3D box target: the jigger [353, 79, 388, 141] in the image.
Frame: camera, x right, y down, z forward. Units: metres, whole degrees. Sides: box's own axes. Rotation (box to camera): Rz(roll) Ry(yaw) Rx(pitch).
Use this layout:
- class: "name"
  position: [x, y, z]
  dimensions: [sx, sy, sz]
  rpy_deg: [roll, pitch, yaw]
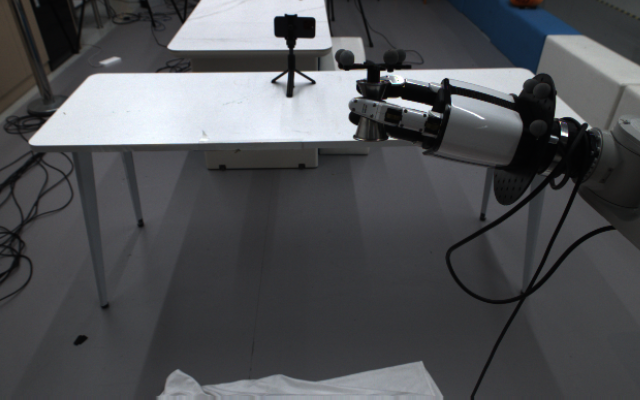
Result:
- class: "jigger"
  position: [0.062, -0.108, 0.585]
  dimensions: [0.043, 0.071, 0.043]
  rpy_deg: [0, 21, 0]
